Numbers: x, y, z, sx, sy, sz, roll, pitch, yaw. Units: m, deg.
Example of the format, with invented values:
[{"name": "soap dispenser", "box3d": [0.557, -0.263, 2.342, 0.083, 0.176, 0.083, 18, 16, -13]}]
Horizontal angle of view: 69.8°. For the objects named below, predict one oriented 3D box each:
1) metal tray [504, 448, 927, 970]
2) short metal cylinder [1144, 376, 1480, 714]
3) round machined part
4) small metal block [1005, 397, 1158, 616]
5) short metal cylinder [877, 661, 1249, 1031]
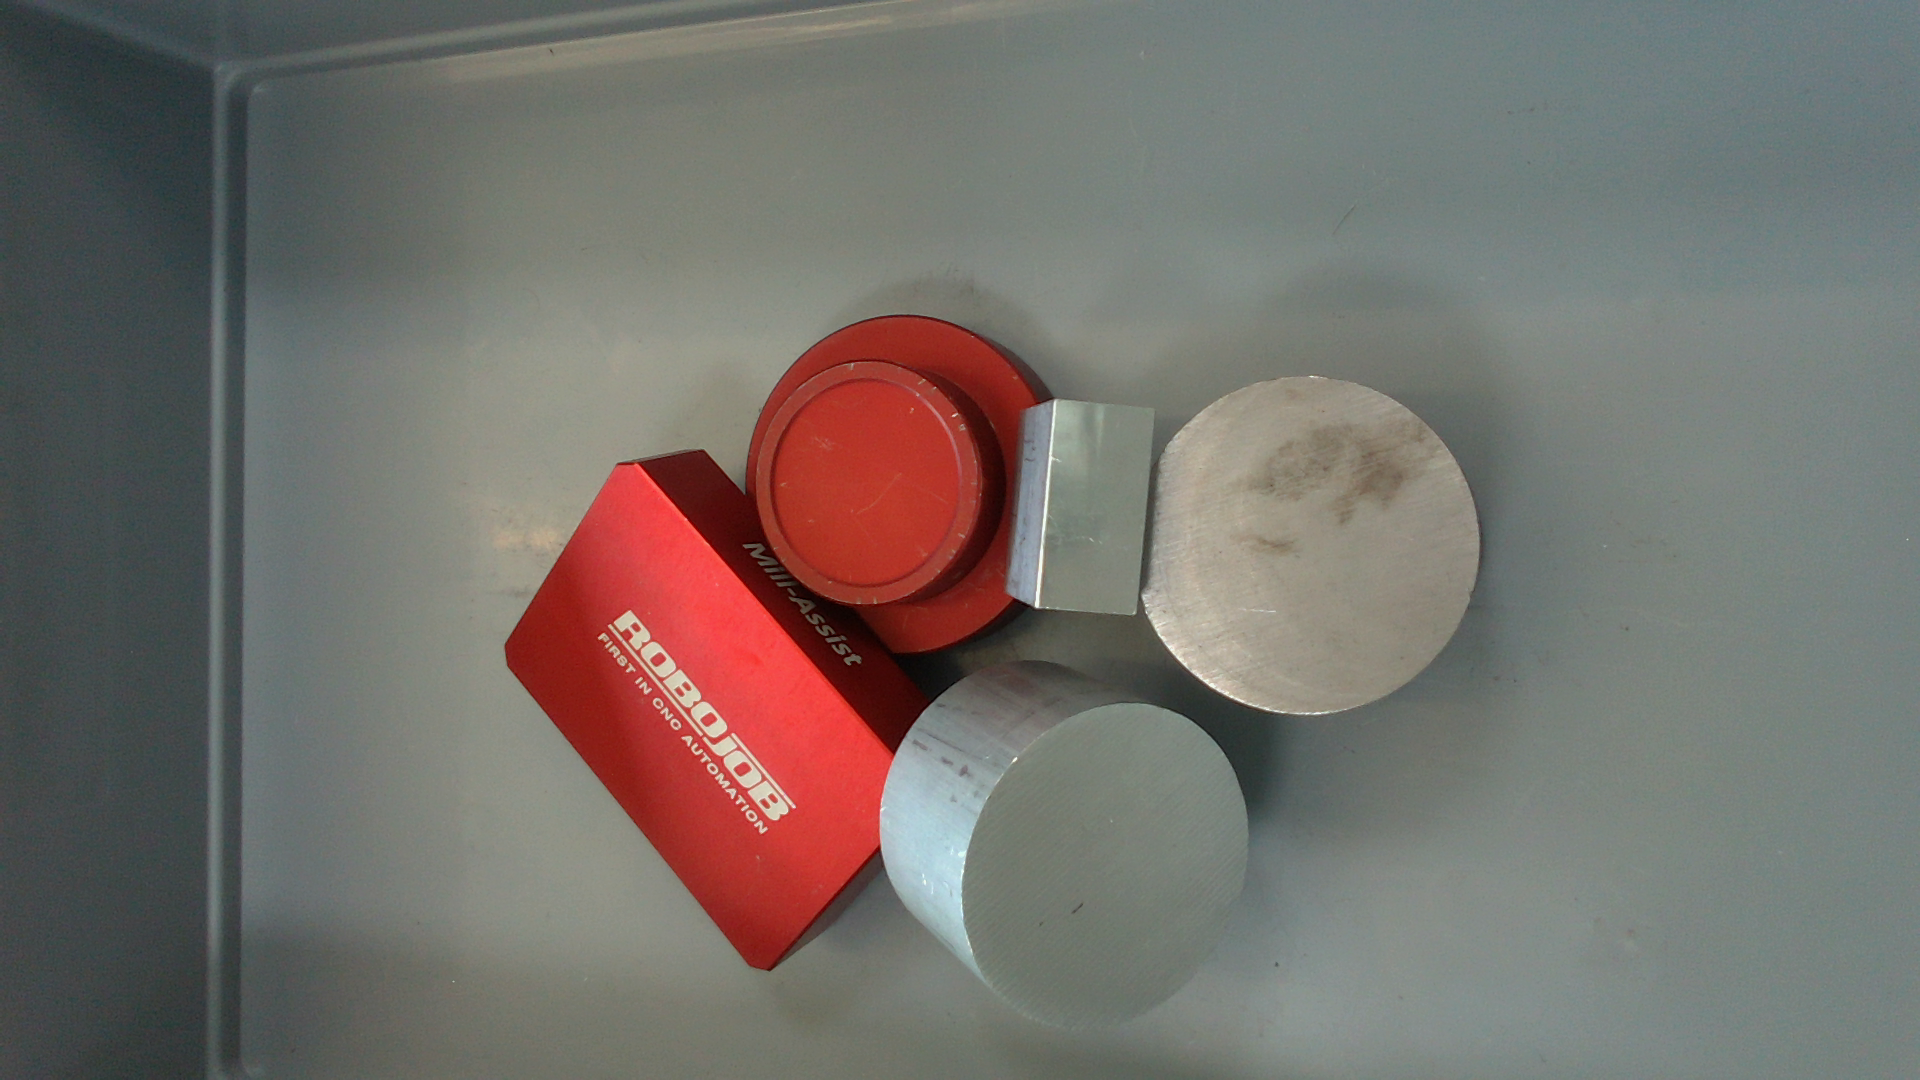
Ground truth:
[{"name": "metal tray", "box3d": [-0.070, 0.048, 0.405, 0.130, 0.030, 0.090, 47, 120, 14]}, {"name": "short metal cylinder", "box3d": [0.089, 0.001, 0.349, 0.080, 0.050, 0.080, 0, 90, 20]}, {"name": "round machined part", "box3d": [-0.019, -0.016, 0.392, 0.098, 0.042, 0.098, 0, 90, 20]}, {"name": "small metal block", "box3d": [0.029, -0.009, 0.351, 0.025, 0.050, 0.050, 5, 91, -8]}, {"name": "short metal cylinder", "box3d": [0.026, 0.075, 0.349, 0.050, 0.080, 0.080, 16, 97, 63]}]
